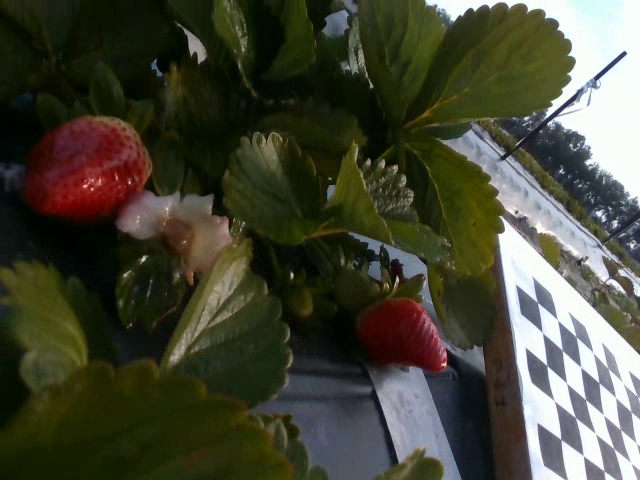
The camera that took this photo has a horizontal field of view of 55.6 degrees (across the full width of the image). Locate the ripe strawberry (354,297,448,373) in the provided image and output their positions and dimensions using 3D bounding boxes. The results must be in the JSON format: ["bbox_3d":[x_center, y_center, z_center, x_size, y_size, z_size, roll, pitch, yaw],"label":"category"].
[{"bbox_3d":[0.044,0.045,0.271,0.035,0.055,0.050,-38,-53,15],"label":"ripe strawberry"}]
